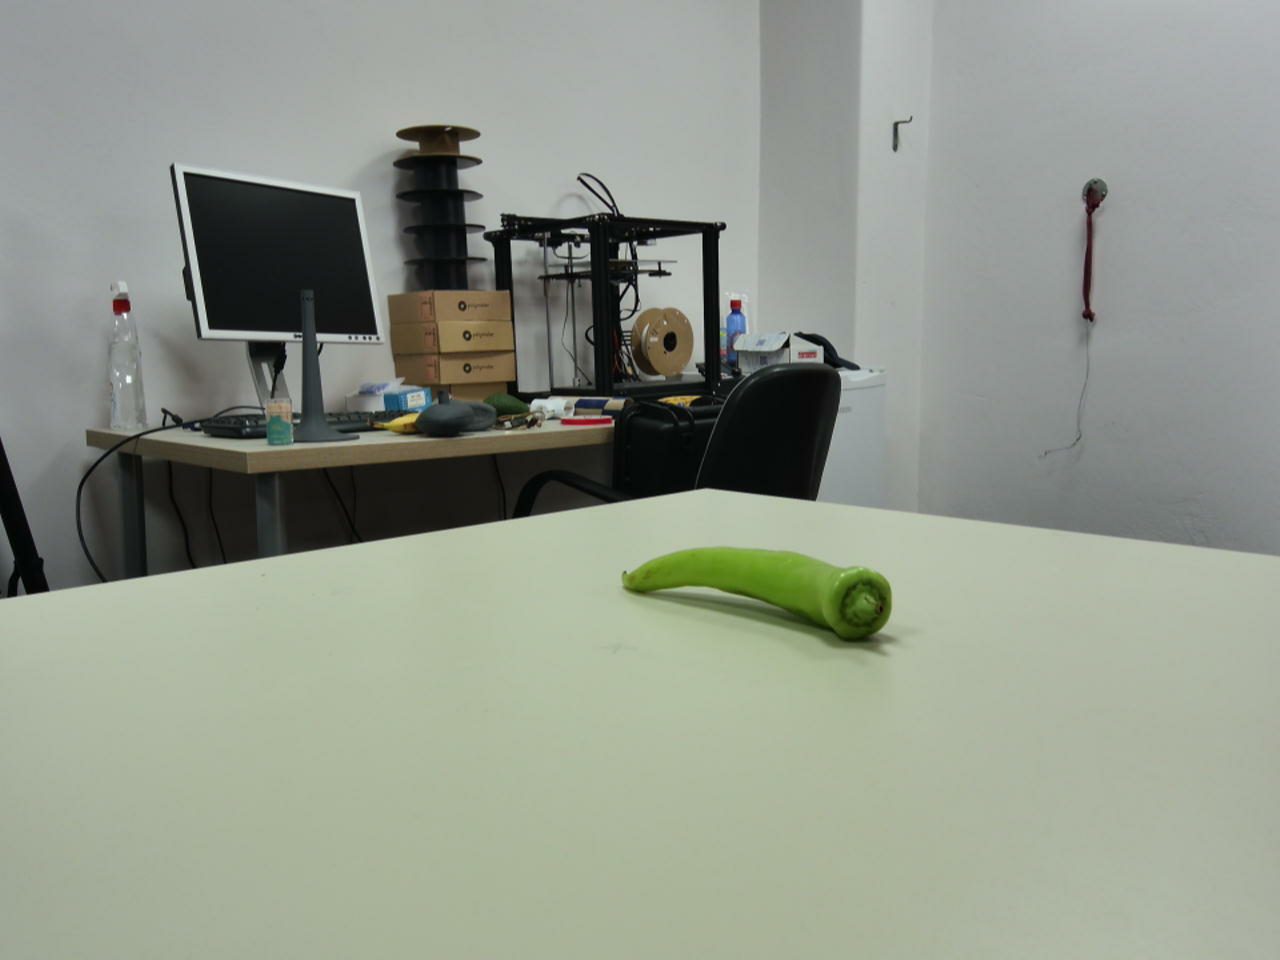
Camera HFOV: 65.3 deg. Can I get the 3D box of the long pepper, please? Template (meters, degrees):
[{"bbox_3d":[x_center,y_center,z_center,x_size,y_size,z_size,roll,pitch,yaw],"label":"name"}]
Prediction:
[{"bbox_3d":[0.062,0.055,0.560,0.046,0.038,0.197,-3,7,-40],"label":"long pepper"}]
